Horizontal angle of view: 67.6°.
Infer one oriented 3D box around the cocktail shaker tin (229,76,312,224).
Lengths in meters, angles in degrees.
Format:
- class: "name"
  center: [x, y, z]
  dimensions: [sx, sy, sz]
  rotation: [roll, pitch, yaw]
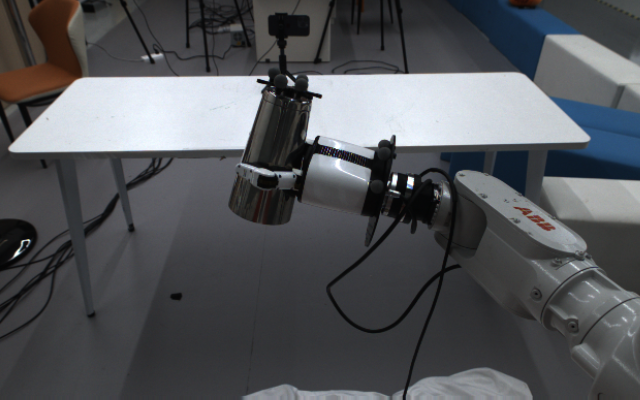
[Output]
- class: "cocktail shaker tin"
  center: [-0.063, -0.062, 0.666]
  dimensions: [0.093, 0.170, 0.093]
  rotation: [15, 20, -5]
